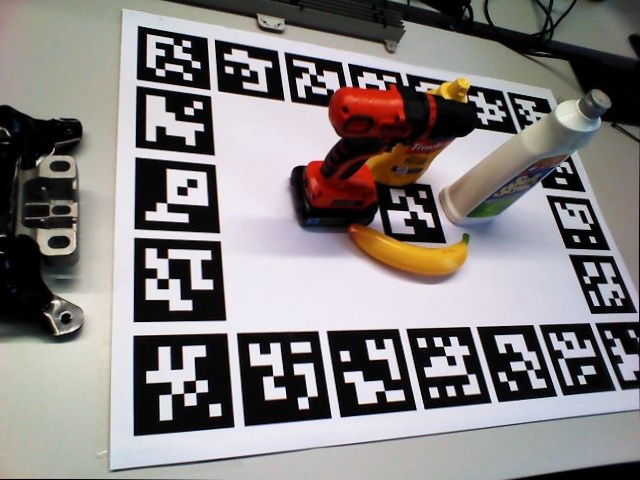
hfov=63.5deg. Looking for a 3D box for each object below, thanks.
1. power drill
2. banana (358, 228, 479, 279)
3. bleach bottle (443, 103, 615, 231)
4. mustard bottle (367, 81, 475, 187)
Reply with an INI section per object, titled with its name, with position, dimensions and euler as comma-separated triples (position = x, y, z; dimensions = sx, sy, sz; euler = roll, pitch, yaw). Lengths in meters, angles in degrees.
[power drill]
position = 0.068, -0.102, 0.623
dimensions = 0.184, 0.188, 0.057
euler = 0, 58, -26
[banana]
position = 0.144, 0.017, 0.706
dimensions = 0.197, 0.039, 0.074
euler = 4, 67, -19
[bleach bottle]
position = 0.282, -0.096, 0.709
dimensions = 0.102, 0.252, 0.067
euler = -6, 68, -26
[mustard bottle]
position = 0.147, -0.144, 0.701
dimensions = 0.096, 0.193, 0.058
euler = 3, 63, -23
